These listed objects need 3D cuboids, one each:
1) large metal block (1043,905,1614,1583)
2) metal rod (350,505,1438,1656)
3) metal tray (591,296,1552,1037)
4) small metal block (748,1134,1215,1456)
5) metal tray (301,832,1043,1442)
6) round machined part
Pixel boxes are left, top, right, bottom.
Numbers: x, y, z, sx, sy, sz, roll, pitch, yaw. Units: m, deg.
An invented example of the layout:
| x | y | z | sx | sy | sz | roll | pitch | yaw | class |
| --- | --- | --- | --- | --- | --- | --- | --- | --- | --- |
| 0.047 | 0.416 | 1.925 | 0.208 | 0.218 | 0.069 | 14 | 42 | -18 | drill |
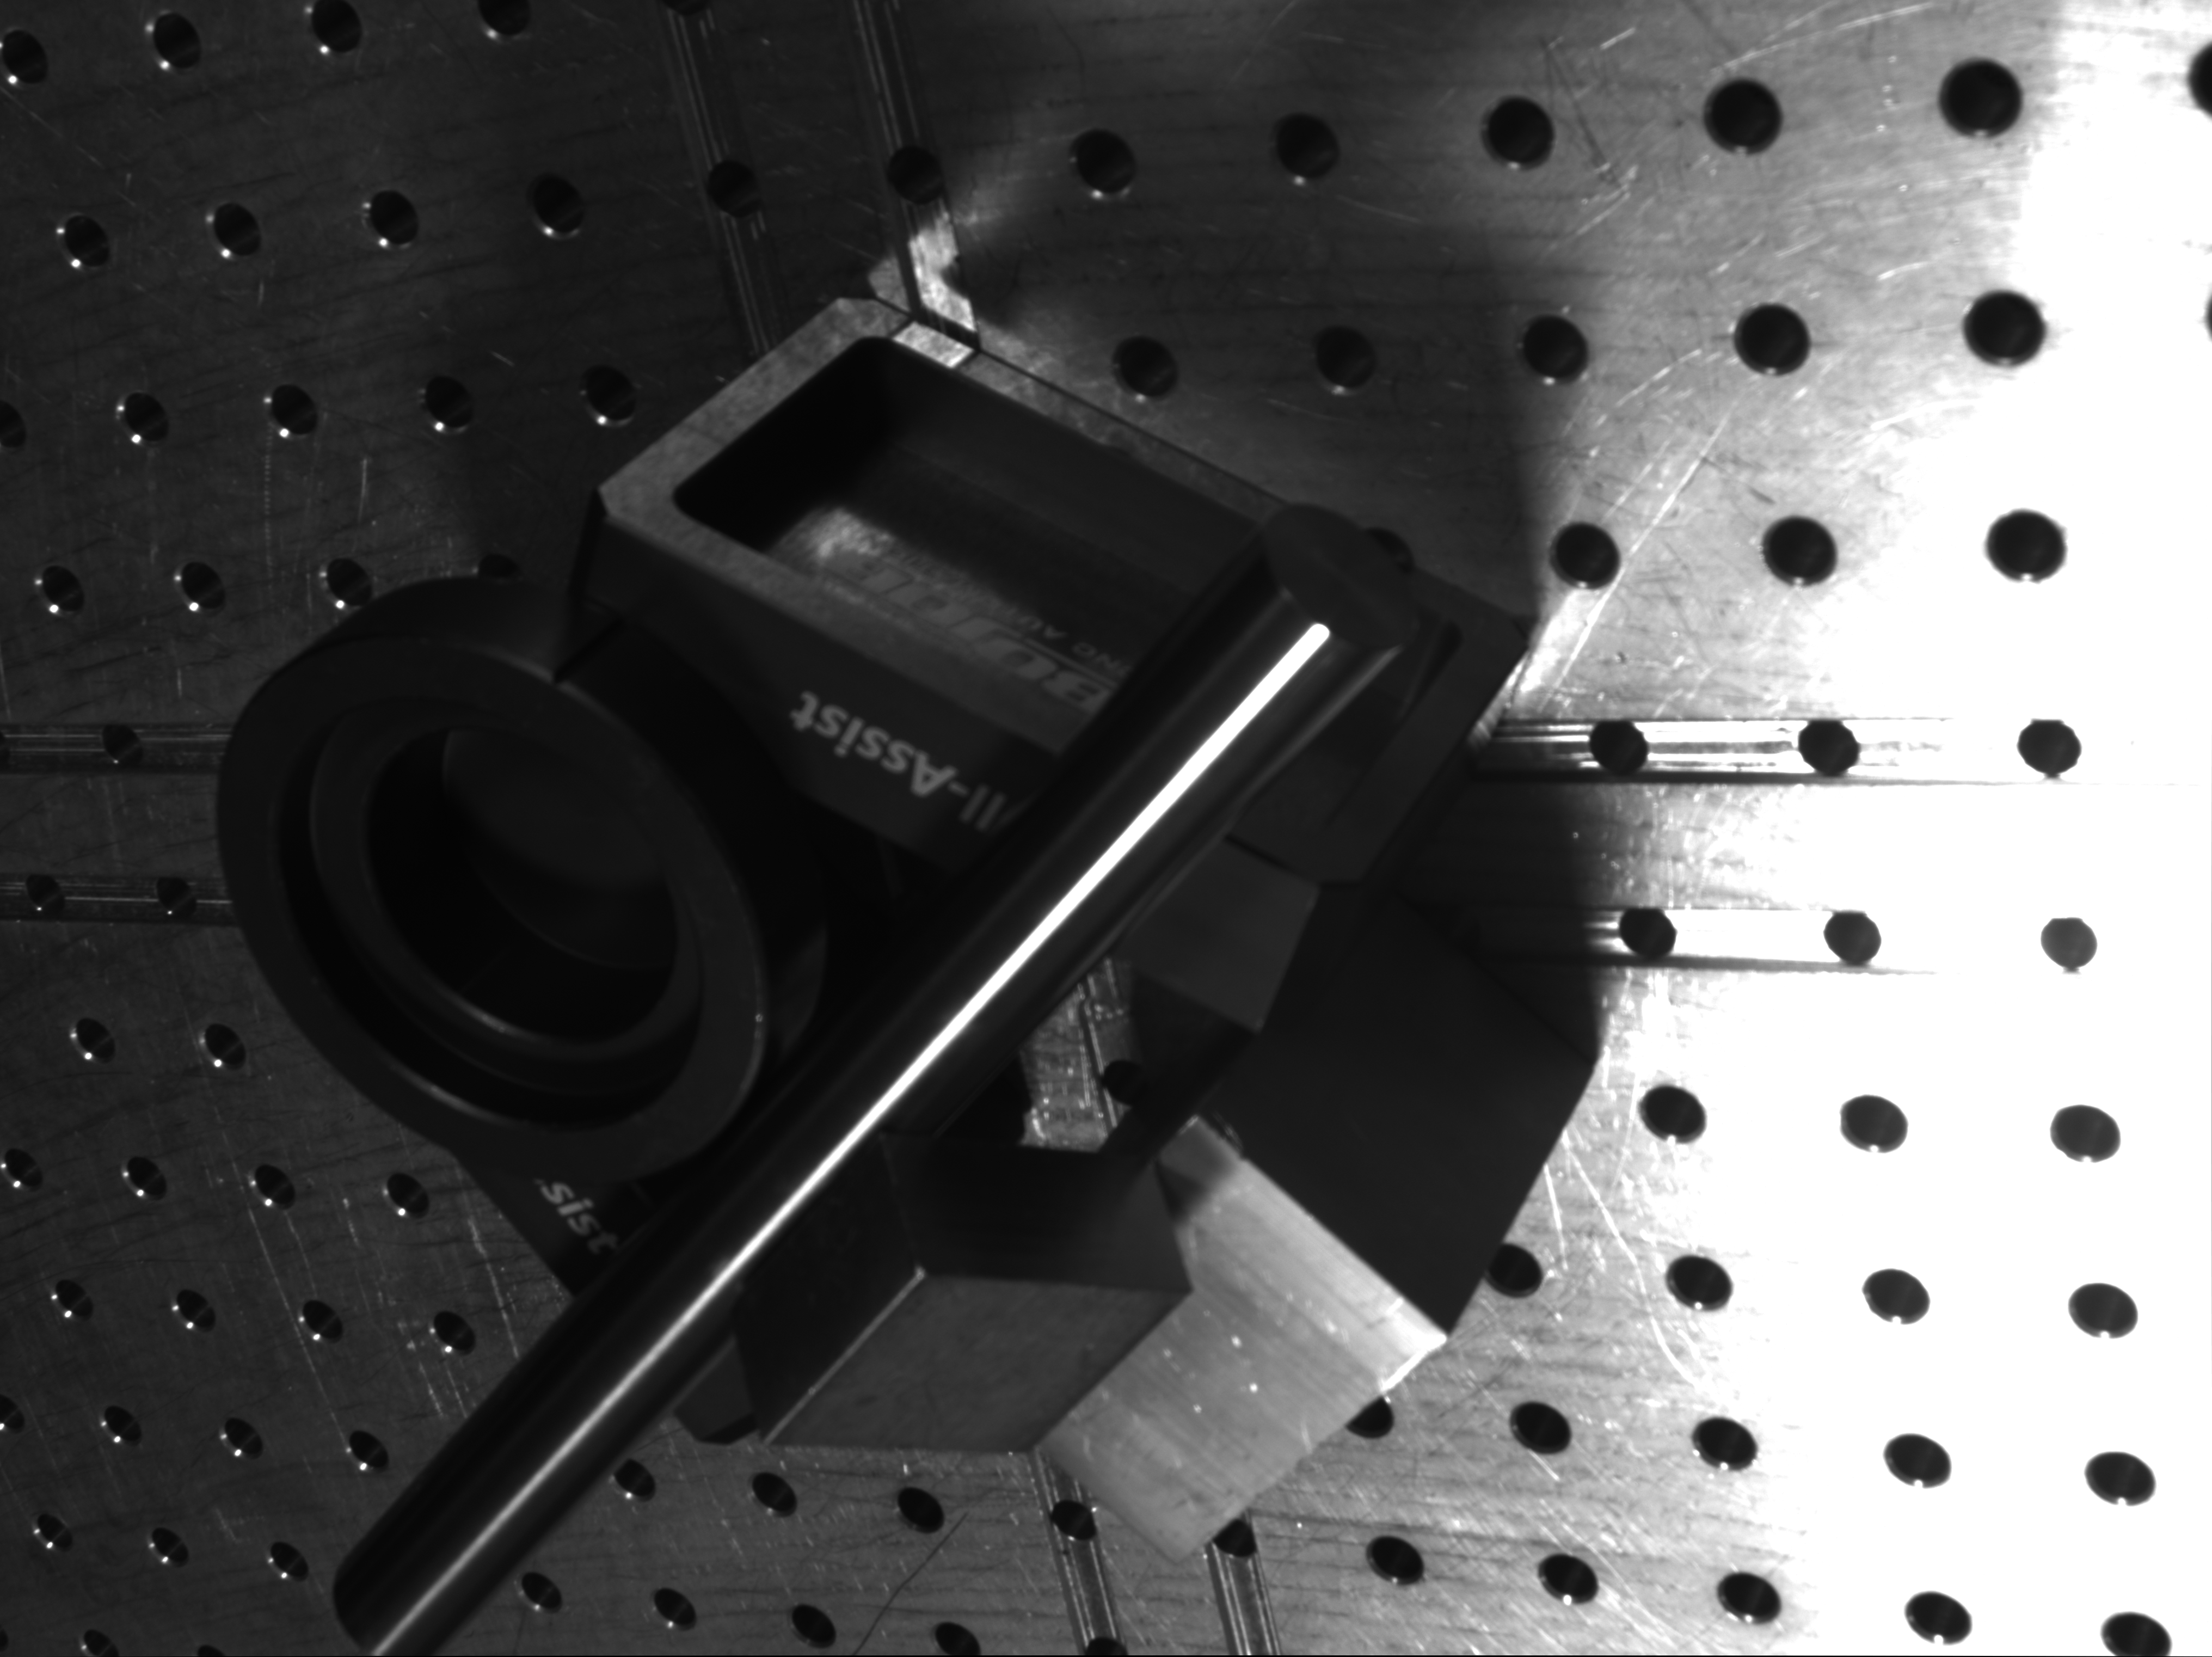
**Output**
| x | y | z | sx | sy | sz | roll | pitch | yaw | class |
| --- | --- | --- | --- | --- | --- | --- | --- | --- | --- |
| 0.031 | 0.068 | 0.620 | 0.050 | 0.080 | 0.080 | 41 | 128 | -1 | large metal block |
| -0.046 | 0.054 | 0.575 | 0.025 | 0.025 | 0.300 | 42 | 128 | -1 | metal rod |
| -0.005 | -0.029 | 0.577 | 0.130 | 0.090 | 0.030 | 28 | 128 | 9 | metal tray |
| -0.020 | 0.073 | 0.568 | 0.050 | 0.050 | 0.025 | -49 | 46 | 38 | small metal block |
| -0.077 | 0.032 | 0.650 | 0.030 | 0.090 | 0.130 | -32 | 101 | 37 | metal tray |
| -0.085 | 0.004 | 0.580 | 0.098 | 0.042 | 0.098 | 12 | 123 | 20 | round machined part |
